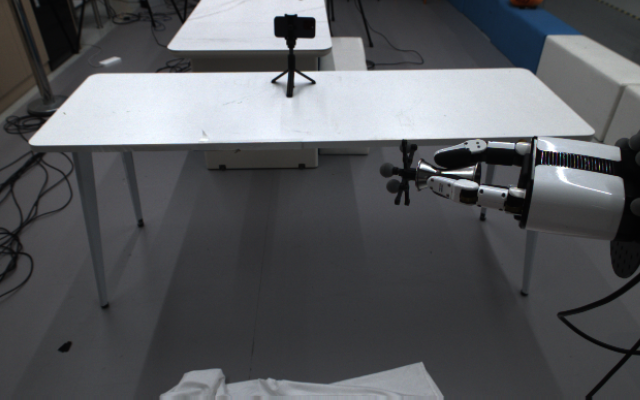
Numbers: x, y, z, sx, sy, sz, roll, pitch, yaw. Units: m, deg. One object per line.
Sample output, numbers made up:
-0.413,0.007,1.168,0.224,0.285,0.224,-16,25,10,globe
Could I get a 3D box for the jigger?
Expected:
0.158,-0.033,0.572,0.071,0.043,0.043,6,33,26,jigger
